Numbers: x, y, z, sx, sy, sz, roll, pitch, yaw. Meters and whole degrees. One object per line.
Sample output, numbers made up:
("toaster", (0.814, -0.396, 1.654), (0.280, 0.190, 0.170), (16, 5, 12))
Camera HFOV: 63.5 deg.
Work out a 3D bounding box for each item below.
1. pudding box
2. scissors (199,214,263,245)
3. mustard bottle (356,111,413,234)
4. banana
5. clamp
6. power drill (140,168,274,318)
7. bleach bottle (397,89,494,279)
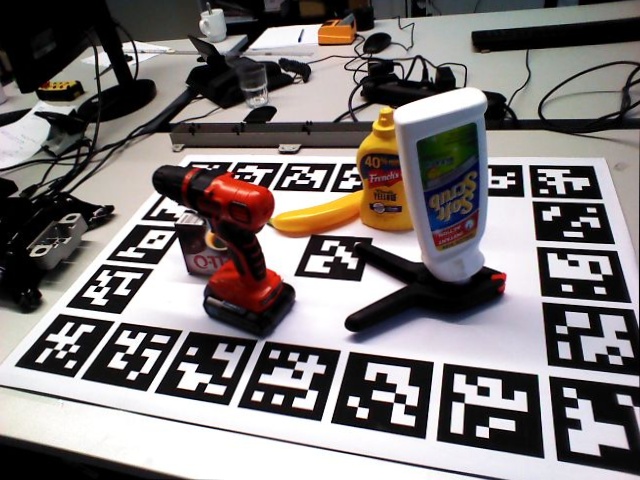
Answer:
("pudding box", (-0.159, 0.005, 0.778), (0.114, 0.090, 0.038), (7, 34, 20))
("scissors", (-0.175, -0.050, 0.747), (0.203, 0.016, 0.087), (26, 54, 32))
("mustard bottle", (0.102, -0.101, 0.777), (0.097, 0.192, 0.058), (14, 43, 27))
("banana", (0.012, -0.064, 0.860), (0.197, 0.039, 0.074), (-21, 21, -13))
("clamp", (0.138, 0.044, 0.675), (0.204, 0.037, 0.164), (0, 40, 12))
("power drill", (-0.137, -0.001, 0.652), (0.185, 0.187, 0.057), (11, 35, 30))
("bleach bottle", (0.161, -0.046, 0.612), (0.103, 0.251, 0.067), (-14, 33, 7))
